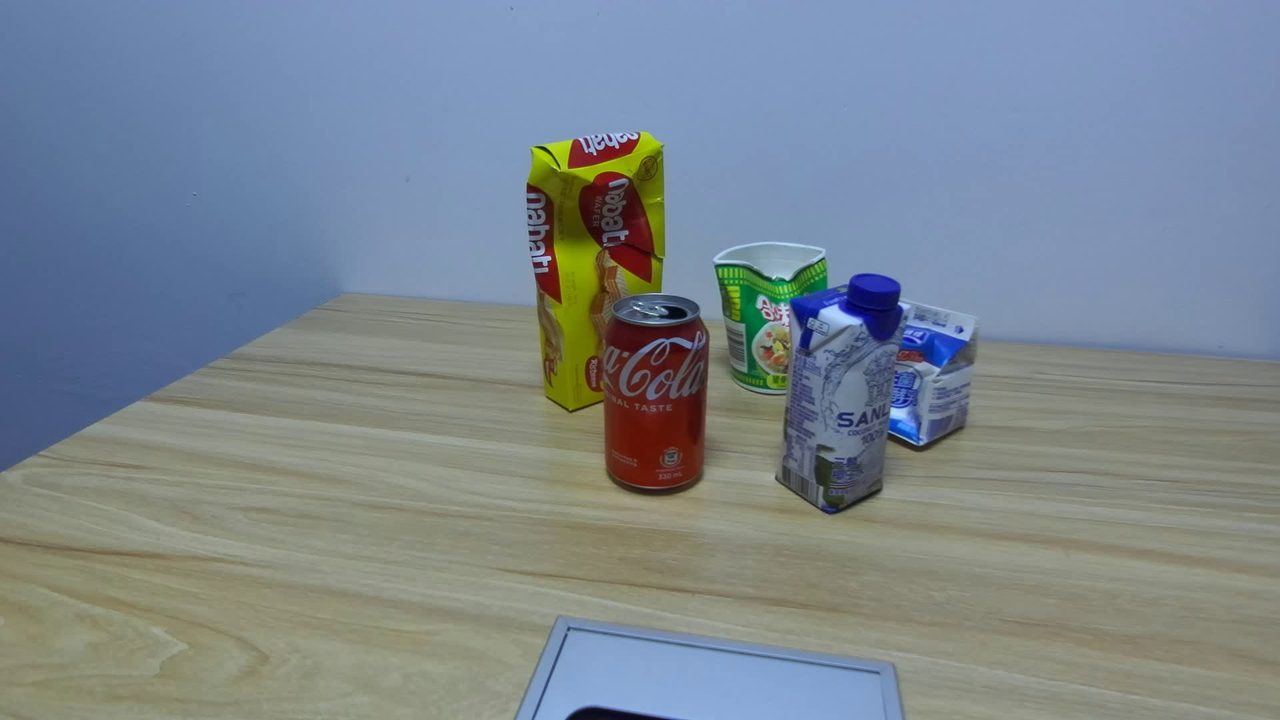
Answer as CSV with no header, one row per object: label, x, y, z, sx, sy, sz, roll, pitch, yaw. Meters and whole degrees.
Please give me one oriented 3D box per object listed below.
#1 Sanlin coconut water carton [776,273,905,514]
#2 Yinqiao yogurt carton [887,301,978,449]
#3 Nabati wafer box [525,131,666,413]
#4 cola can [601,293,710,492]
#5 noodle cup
Sanlin coconut water carton,0.123,0.017,0.434,0.061,0.144,0.060,-17,28,-32
Yinqiao yogurt carton,0.205,0.005,0.529,0.071,0.094,0.077,-13,27,-40
Nabati wafer box,-0.033,-0.067,0.548,0.107,0.204,0.042,-17,30,-34
cola can,0.010,0.020,0.455,0.068,0.120,0.068,1,24,0
noodle cup,0.116,-0.038,0.603,0.082,0.122,0.075,0,18,22
